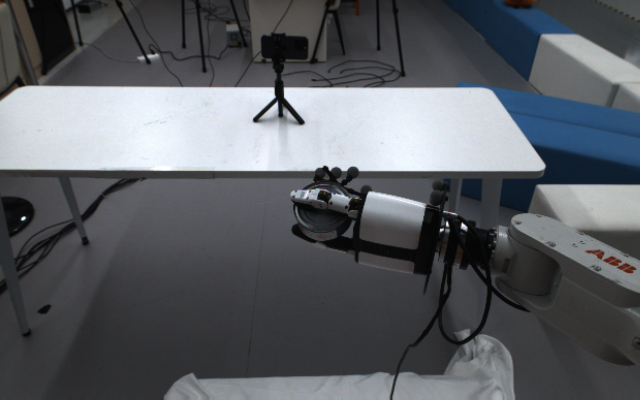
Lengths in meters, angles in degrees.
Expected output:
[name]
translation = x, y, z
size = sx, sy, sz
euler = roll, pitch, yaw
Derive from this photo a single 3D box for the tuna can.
[tuna can]
translation = 0.007, 0.015, 0.709
size = 0.085, 0.034, 0.085
euler = -4, 56, 6
